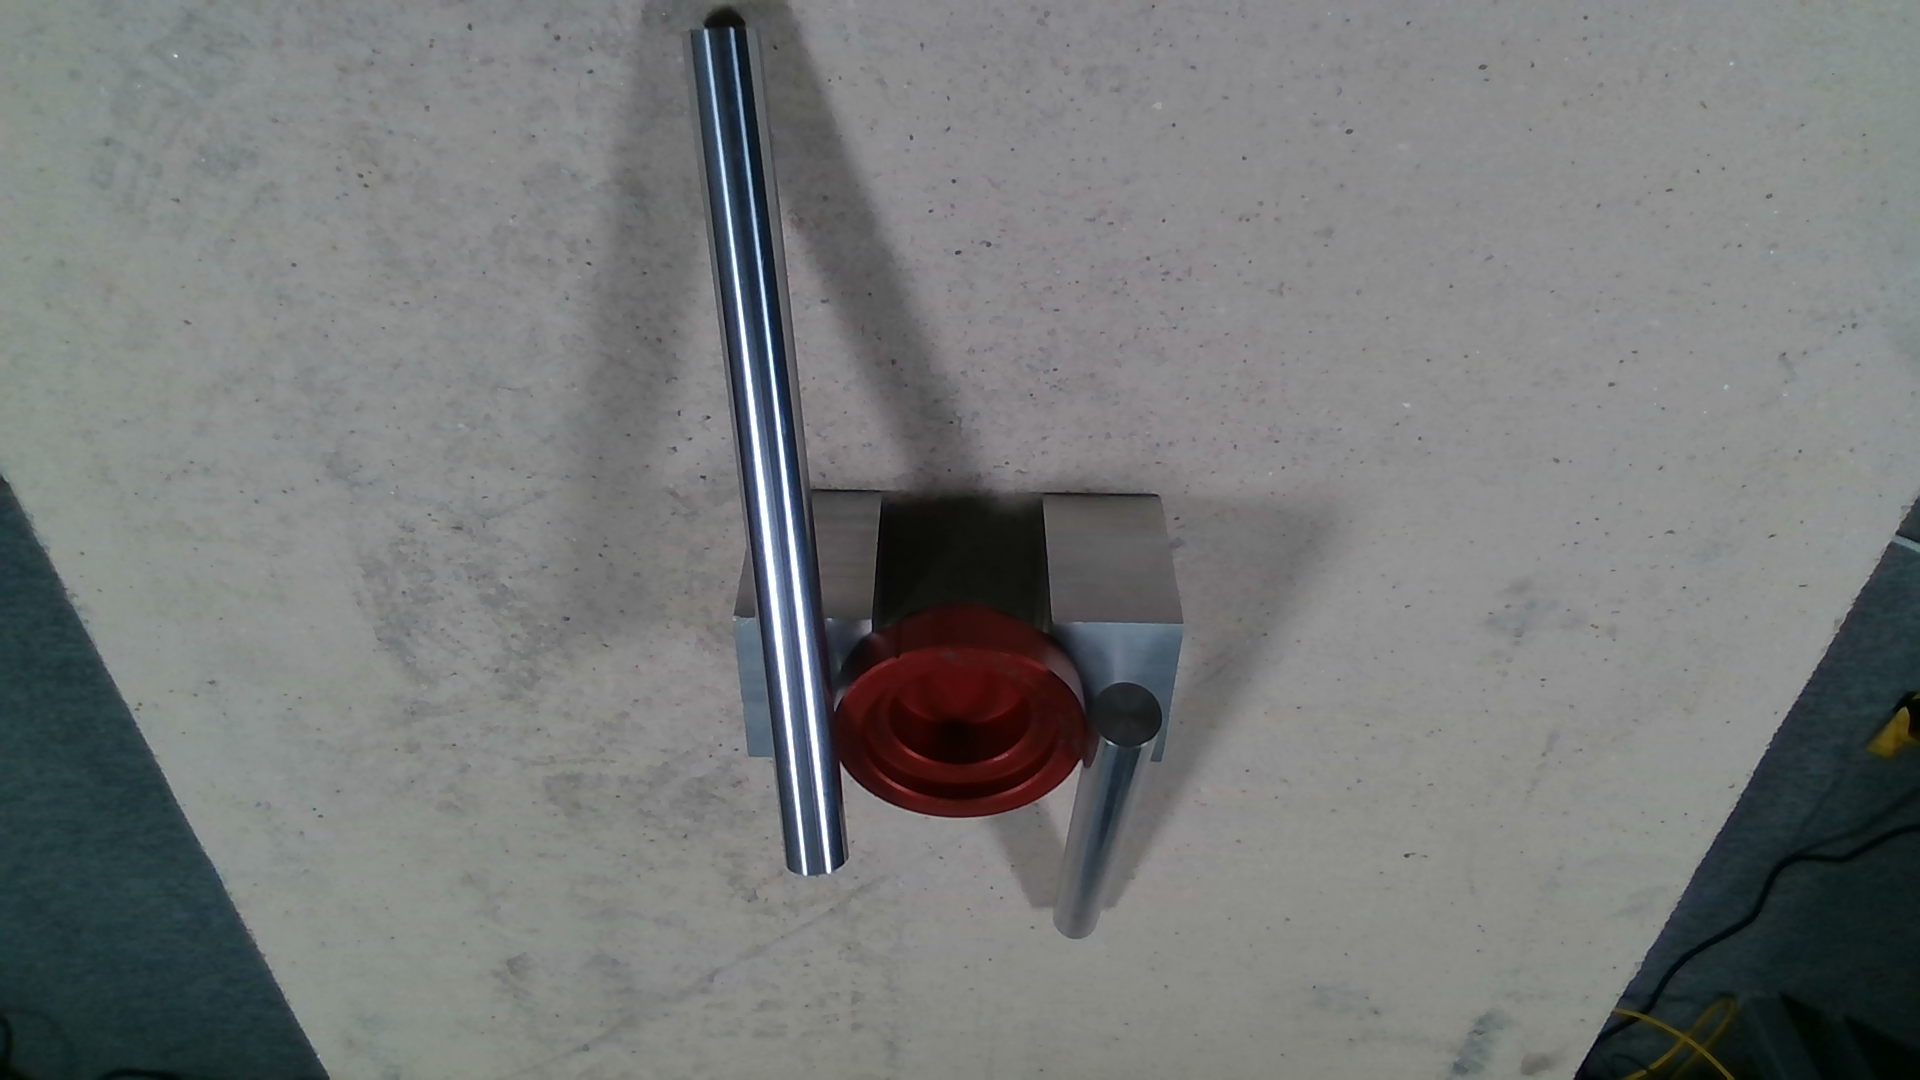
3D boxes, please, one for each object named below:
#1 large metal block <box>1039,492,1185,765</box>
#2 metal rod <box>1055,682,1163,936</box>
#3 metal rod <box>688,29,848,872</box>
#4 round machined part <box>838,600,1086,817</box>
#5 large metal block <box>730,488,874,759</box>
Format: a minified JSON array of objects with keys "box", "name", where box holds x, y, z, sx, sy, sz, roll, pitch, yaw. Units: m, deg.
[{"box":[0.059,0.036,0.574,0.050,0.080,0.080,1,130,-1],"name":"large metal block"},{"box":[0.061,0.133,0.621,0.025,0.025,0.301,-1,152,0],"name":"metal rod"},{"box":[-0.066,-0.021,0.490,0.025,0.025,0.301,-3,107,3],"name":"metal rod"},{"box":[0.000,0.062,0.544,0.098,0.042,0.098,0,130,0],"name":"round machined part"},{"box":[-0.062,0.034,0.572,0.050,0.080,0.080,1,130,-1],"name":"large metal block"}]
